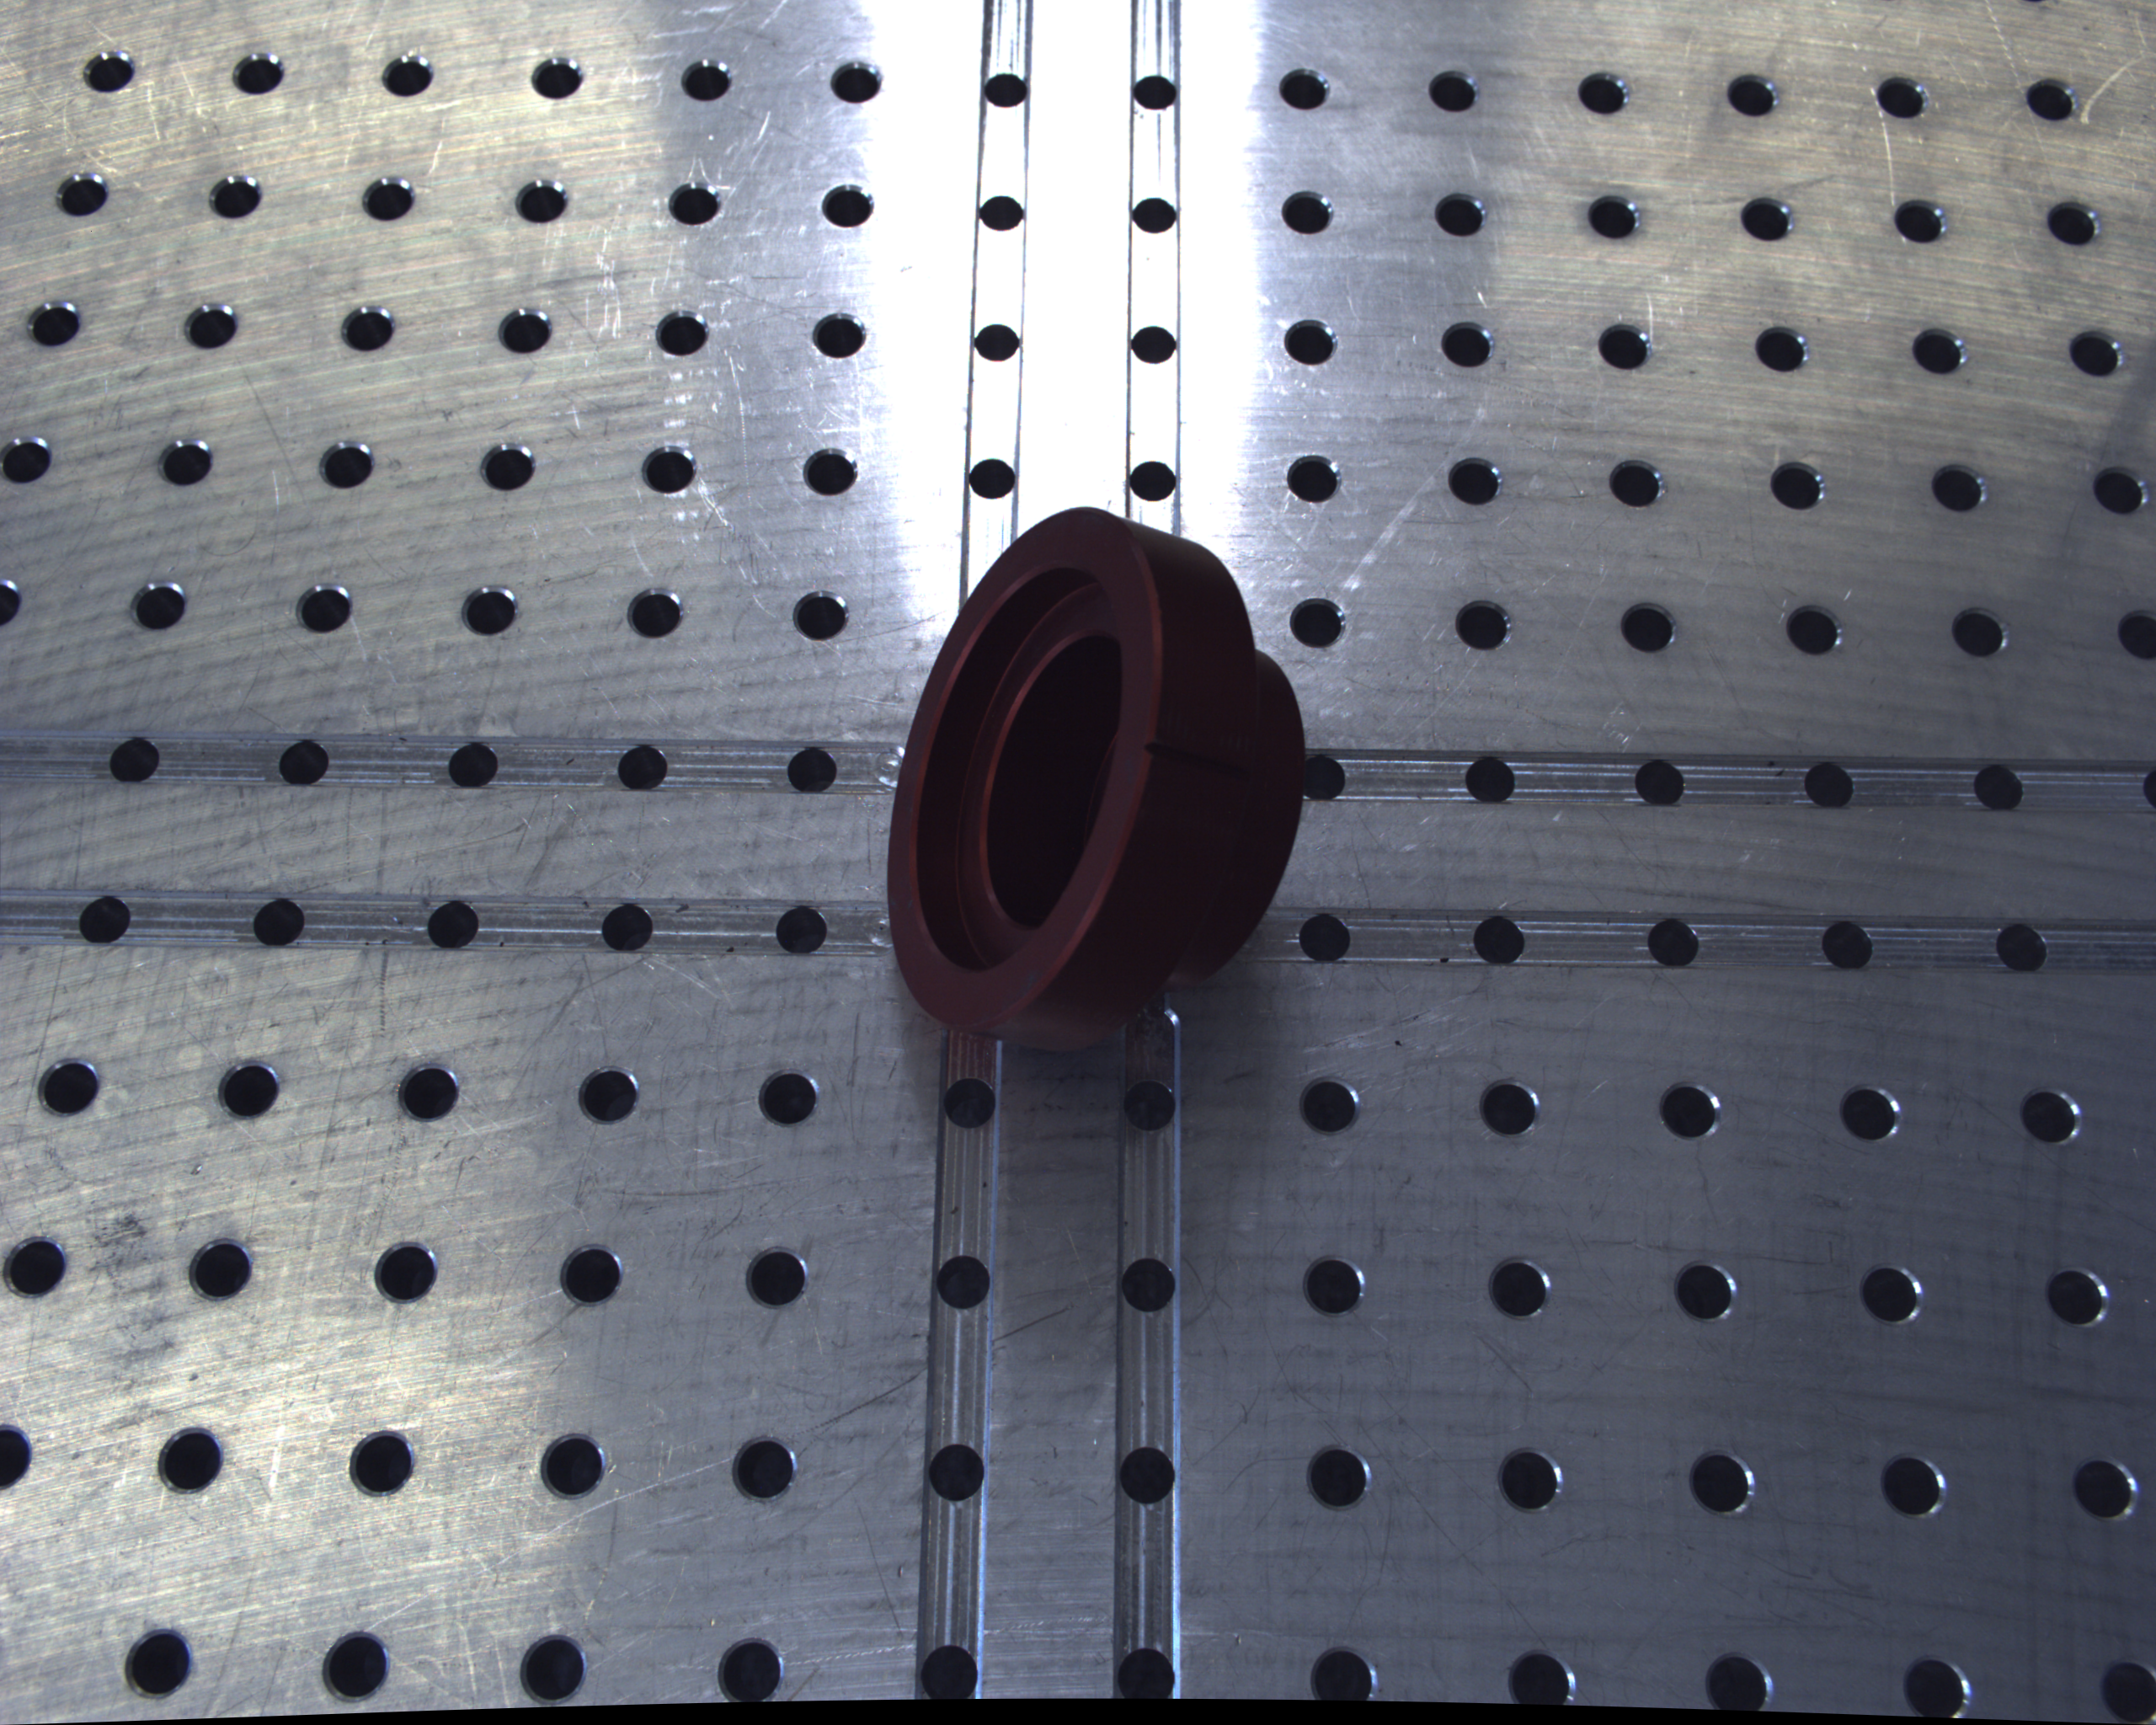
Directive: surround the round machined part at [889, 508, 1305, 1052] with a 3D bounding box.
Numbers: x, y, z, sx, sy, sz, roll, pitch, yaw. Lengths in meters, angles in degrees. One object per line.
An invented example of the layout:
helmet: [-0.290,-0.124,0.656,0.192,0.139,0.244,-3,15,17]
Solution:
round machined part: [0.005,-0.013,0.388,0.042,0.098,0.098,15,67,-28]
